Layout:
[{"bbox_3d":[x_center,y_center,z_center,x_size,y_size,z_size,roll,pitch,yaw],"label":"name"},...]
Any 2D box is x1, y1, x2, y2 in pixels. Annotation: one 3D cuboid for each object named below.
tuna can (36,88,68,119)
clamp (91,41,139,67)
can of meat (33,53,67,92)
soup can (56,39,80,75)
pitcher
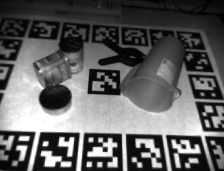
[{"bbox_3d":[-0.171,0.053,0.623,0.086,0.034,0.085,4,57,-5],"label":"tuna can"},{"bbox_3d":[0.013,-0.105,0.765,0.166,0.036,0.121,6,51,-7],"label":"clamp"},{"bbox_3d":[-0.187,-0.035,0.636,0.084,0.102,0.057,-31,65,-20],"label":"can of meat"},{"bbox_3d":[-0.140,-0.087,0.683,0.068,0.102,0.067,2,57,-2],"label":"soup can"},{"bbox_3d":[0.130,-0.044,0.663,0.186,0.134,0.243,6,45,25],"label":"pitcher"}]
